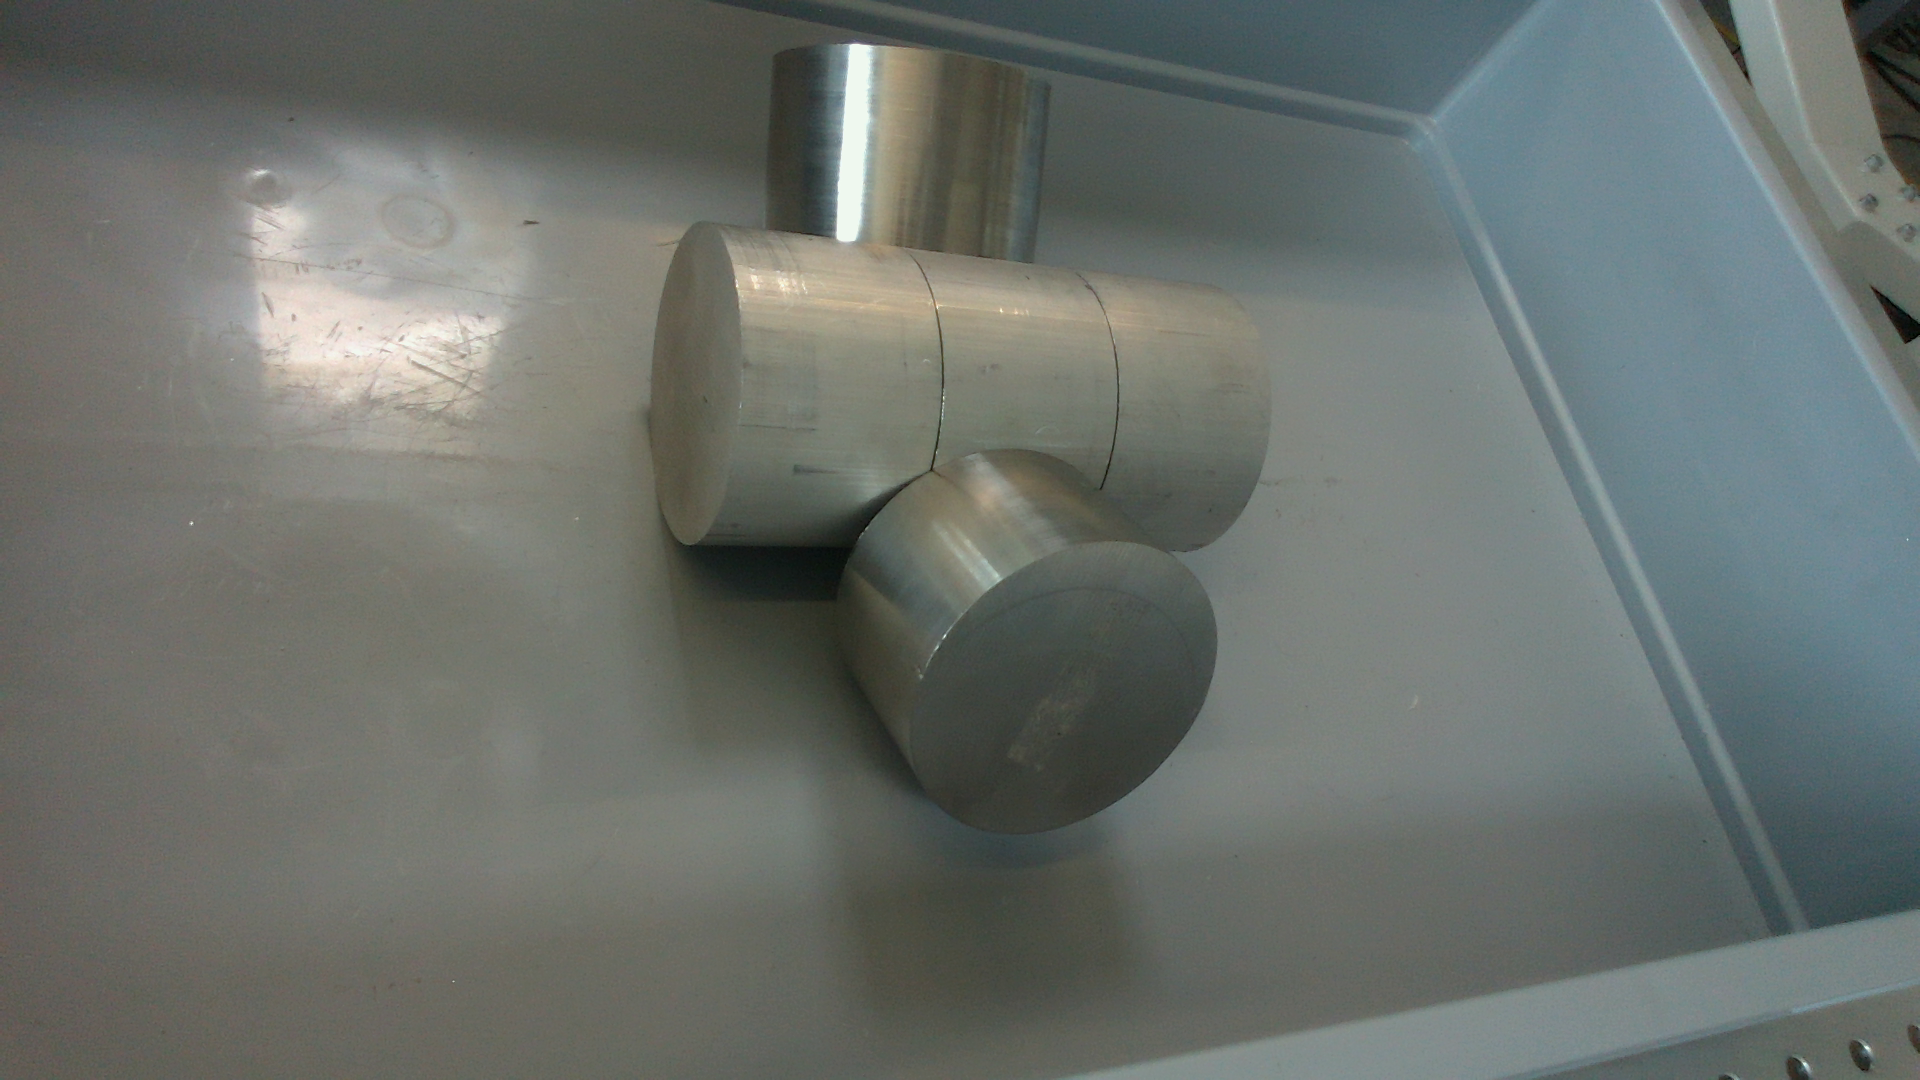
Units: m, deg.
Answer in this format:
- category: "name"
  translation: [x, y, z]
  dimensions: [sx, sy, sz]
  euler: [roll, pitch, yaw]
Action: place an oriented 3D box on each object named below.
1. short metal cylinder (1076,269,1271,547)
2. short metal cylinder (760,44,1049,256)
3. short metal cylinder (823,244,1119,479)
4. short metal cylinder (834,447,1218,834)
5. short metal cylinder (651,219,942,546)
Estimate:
- category: "short metal cylinder"
  translation: [0.045, -0.037, 0.400]
  dimensions: [0.050, 0.080, 0.080]
  euler: [1, 61, -27]
- category: "short metal cylinder"
  translation: [-0.016, -0.109, 0.401]
  dimensions: [0.080, 0.080, 0.050]
  euler: [2, 99, -27]
- category: "short metal cylinder"
  translation: [0.000, -0.038, 0.376]
  dimensions: [0.050, 0.080, 0.080]
  euler: [1, 61, -27]
- category: "short metal cylinder"
  translation: [0.015, 0.024, 0.337]
  dimensions: [0.080, 0.080, 0.050]
  euler: [0, 27, -28]
- category: "short metal cylinder"
  translation: [-0.045, -0.038, 0.352]
  dimensions: [0.050, 0.080, 0.080]
  euler: [1, 61, -27]
